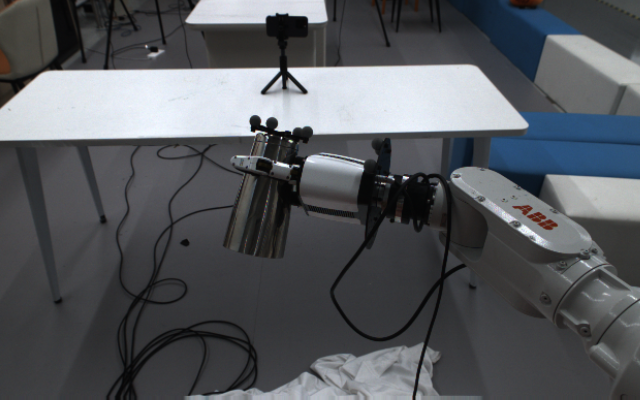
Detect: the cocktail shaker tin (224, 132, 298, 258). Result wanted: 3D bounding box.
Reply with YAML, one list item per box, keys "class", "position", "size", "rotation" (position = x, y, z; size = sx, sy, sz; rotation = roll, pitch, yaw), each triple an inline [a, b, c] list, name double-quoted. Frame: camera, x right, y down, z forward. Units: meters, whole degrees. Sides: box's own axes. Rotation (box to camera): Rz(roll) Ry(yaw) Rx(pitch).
- class: "cocktail shaker tin"
  position: [-0.078, -0.010, 0.715]
  size: [0.093, 0.170, 0.093]
  rotation: [13, 1, 0]
